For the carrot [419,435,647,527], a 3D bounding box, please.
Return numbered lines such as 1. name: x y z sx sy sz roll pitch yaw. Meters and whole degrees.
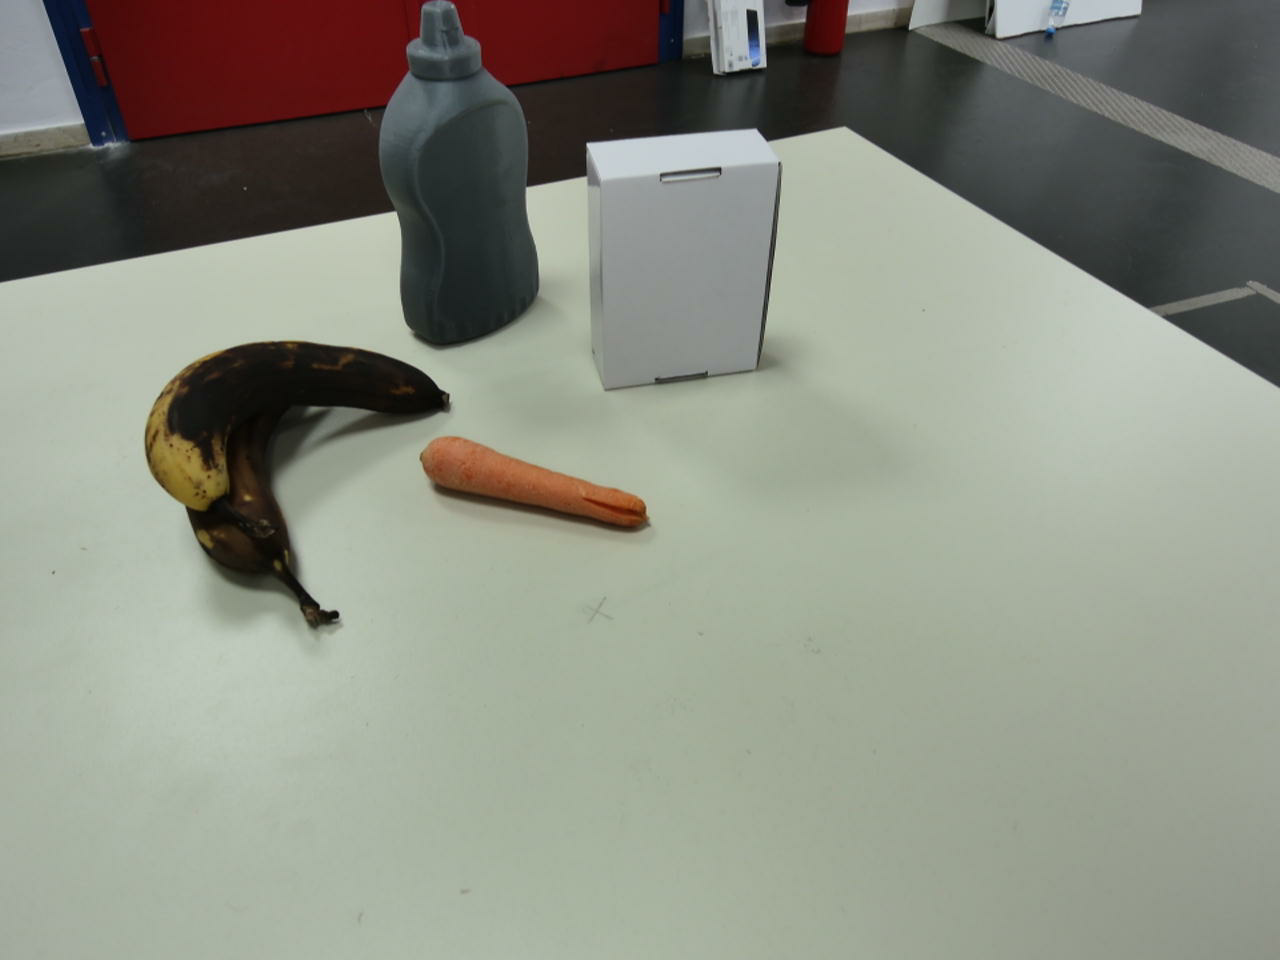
1. carrot: -0.061 0.001 0.553 0.136 0.032 0.030 13 40 15
